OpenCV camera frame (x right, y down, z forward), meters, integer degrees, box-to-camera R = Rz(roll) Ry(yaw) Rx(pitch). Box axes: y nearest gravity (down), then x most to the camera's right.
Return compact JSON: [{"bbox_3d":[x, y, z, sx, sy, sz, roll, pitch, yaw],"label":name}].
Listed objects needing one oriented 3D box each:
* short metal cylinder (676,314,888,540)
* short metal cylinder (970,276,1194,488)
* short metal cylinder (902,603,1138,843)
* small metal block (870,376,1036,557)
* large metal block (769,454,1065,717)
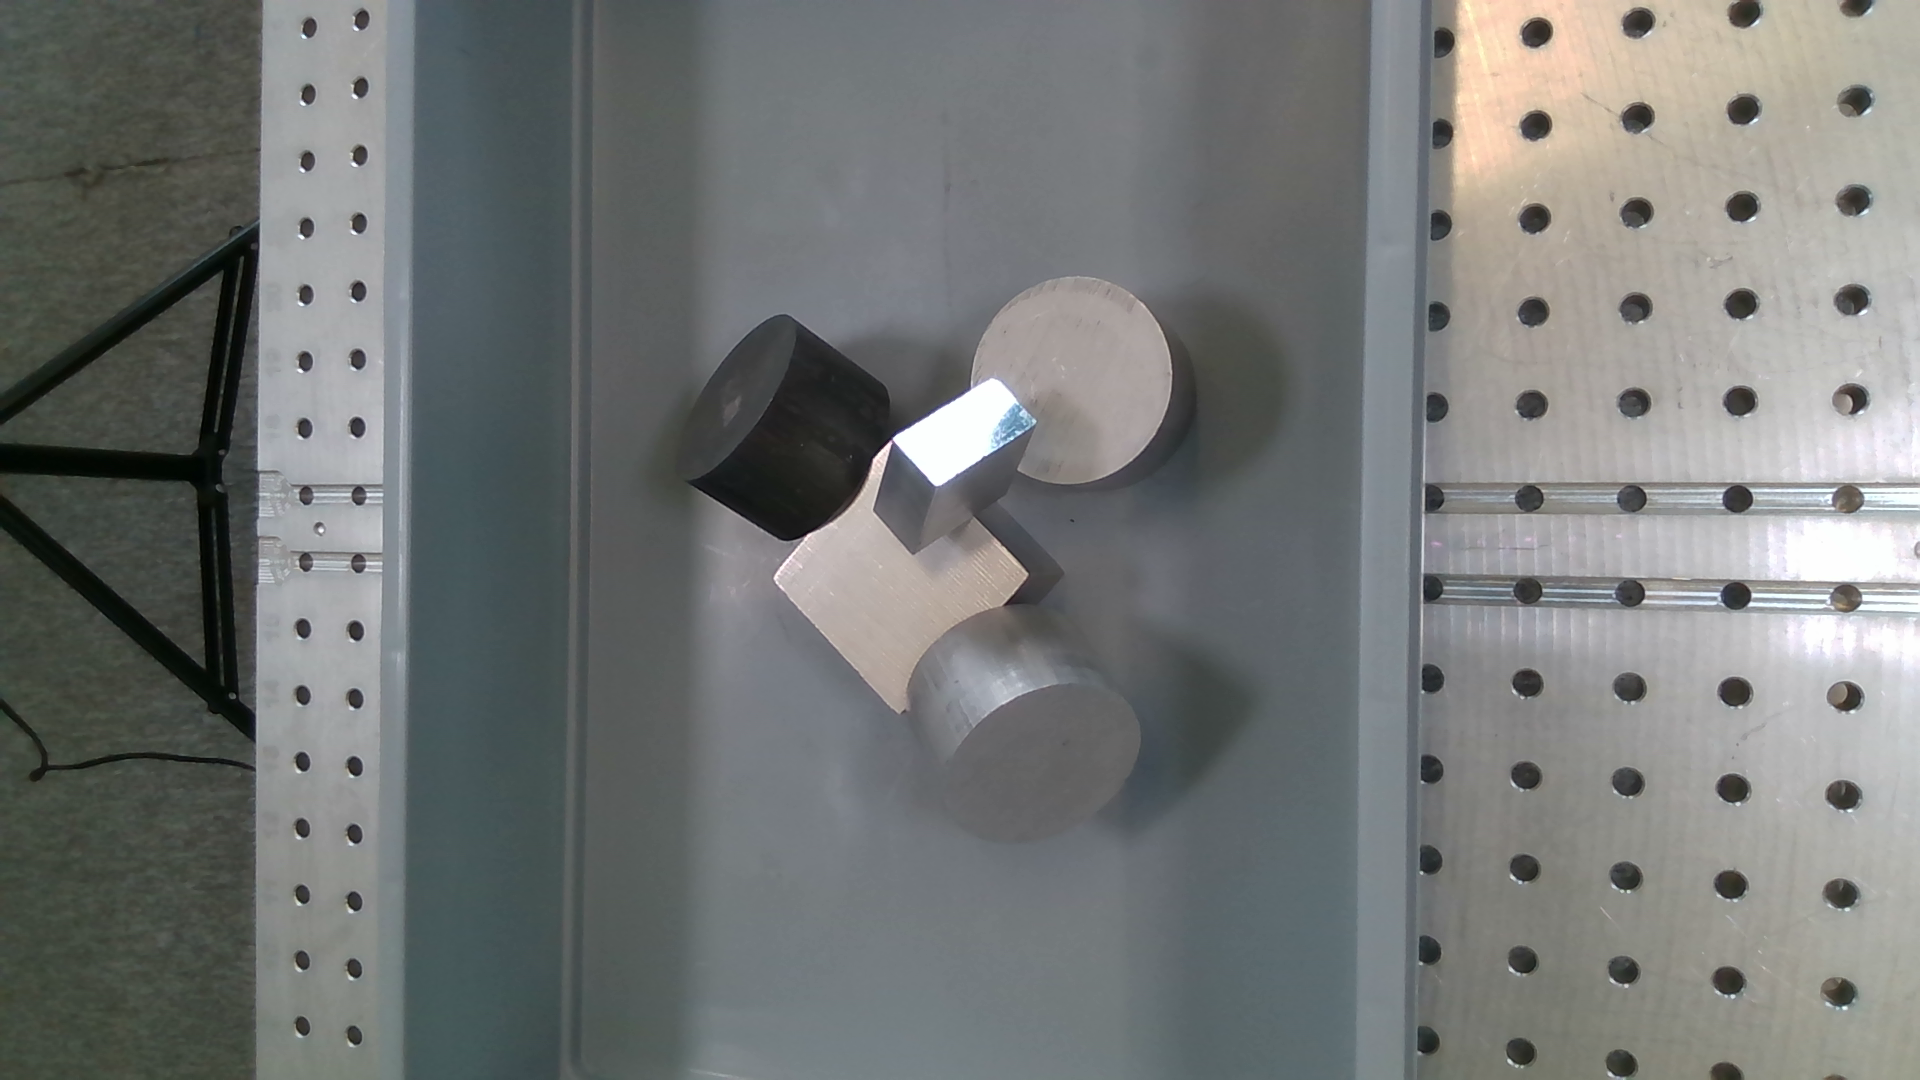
[{"bbox_3d":[-0.075,-0.047,0.576,0.080,0.050,0.080,-37,34,31],"label":"short metal cylinder"},{"bbox_3d":[0.050,-0.062,0.552,0.080,0.050,0.080,0,91,20],"label":"short metal cylinder"},{"bbox_3d":[0.023,0.072,0.540,0.080,0.080,0.050,-49,37,14],"label":"short metal cylinder"},{"bbox_3d":[-0.003,-0.027,0.520,0.050,0.050,0.025,-34,73,-27],"label":"small metal block"},{"bbox_3d":[-0.018,0.015,0.576,0.080,0.050,0.080,46,105,14],"label":"large metal block"}]
